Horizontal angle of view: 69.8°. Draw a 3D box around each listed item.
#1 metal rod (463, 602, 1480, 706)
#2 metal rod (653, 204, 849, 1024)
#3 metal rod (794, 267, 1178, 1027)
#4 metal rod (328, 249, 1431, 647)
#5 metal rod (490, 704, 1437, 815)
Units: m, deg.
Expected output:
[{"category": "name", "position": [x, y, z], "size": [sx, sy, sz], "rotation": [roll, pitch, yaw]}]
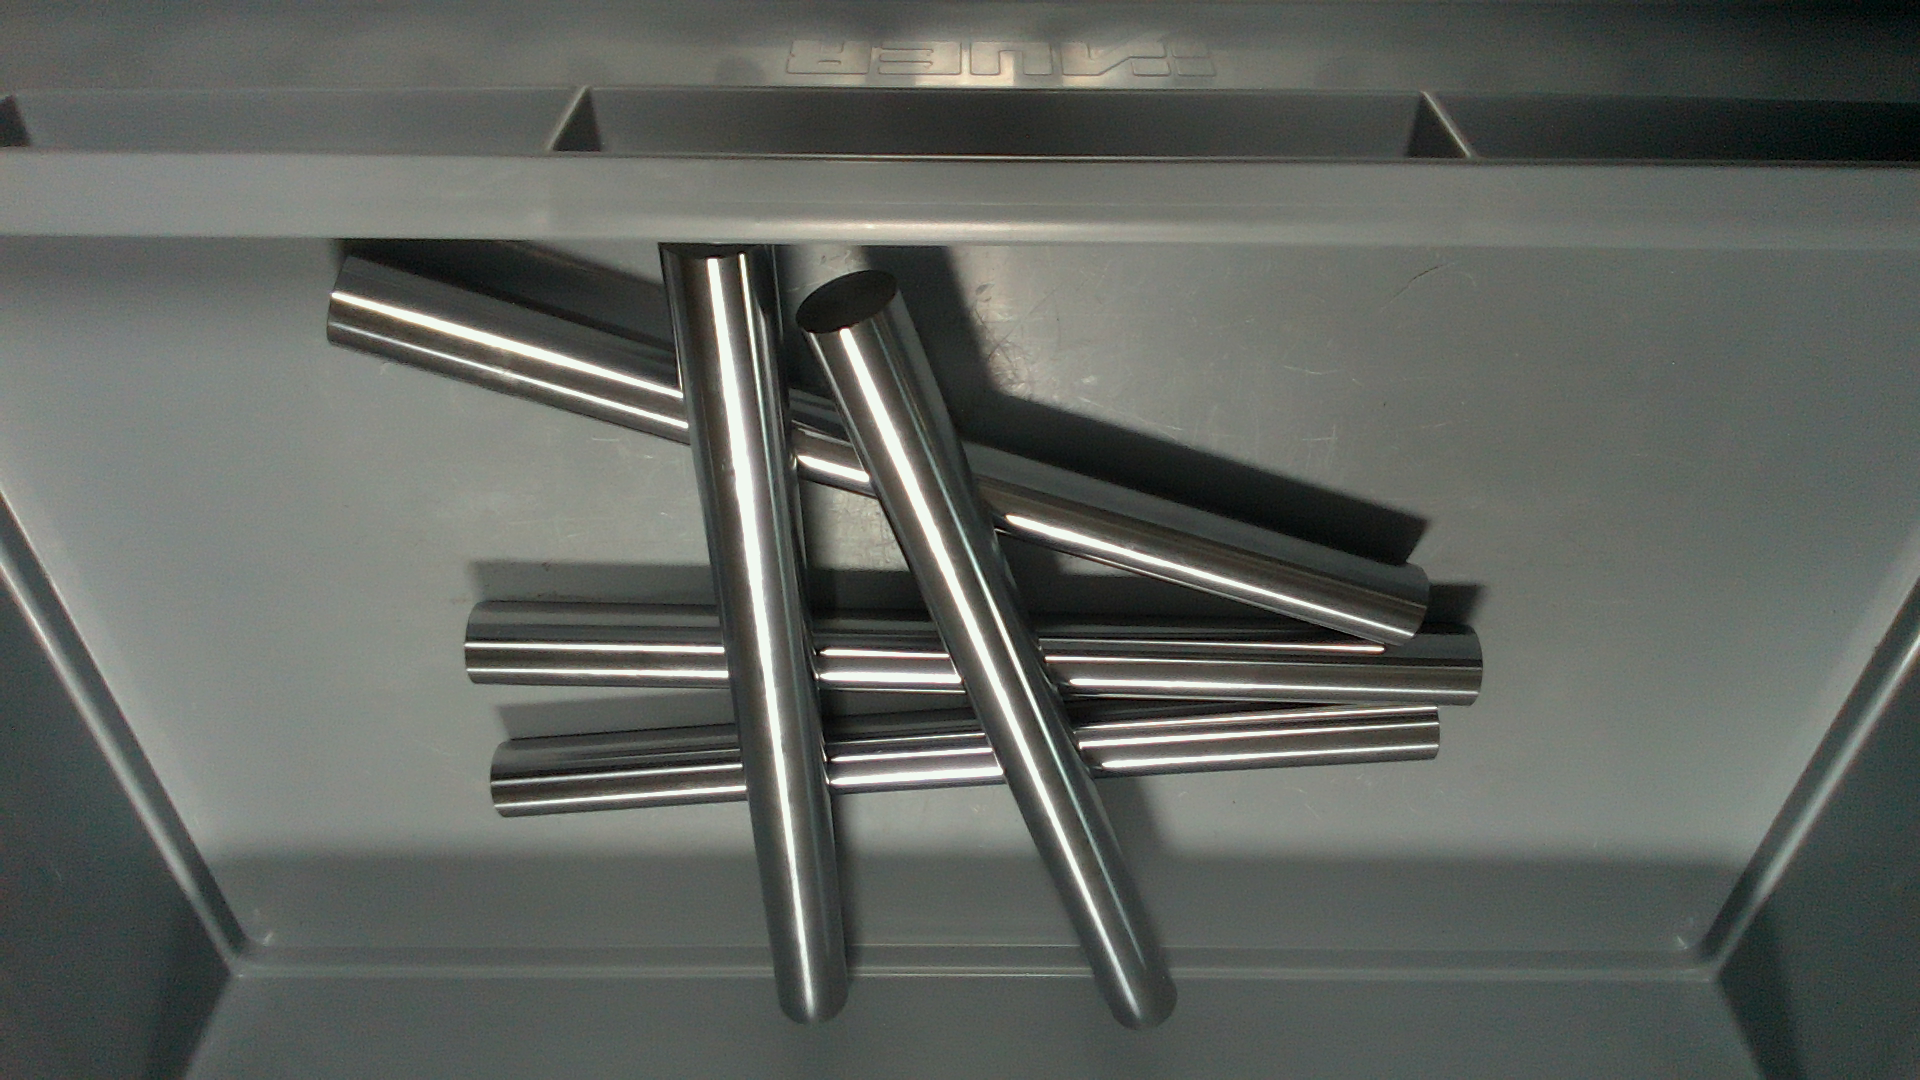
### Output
[{"category": "metal rod", "position": [0.005, 0.035, 0.418], "size": [0.300, 0.025, 0.025], "rotation": [1, 130, -1]}, {"category": "metal rod", "position": [-0.053, 0.047, 0.395], "size": [0.025, 0.025, 0.300], "rotation": [0, 130, 0]}, {"category": "metal rod", "position": [0.020, 0.055, 0.402], "size": [0.025, 0.025, 0.300], "rotation": [-14, 129, 11]}, {"category": "metal rod", "position": [-0.010, -0.020, 0.372], "size": [0.301, 0.025, 0.025], "rotation": [16, 128, -13]}, {"category": "metal rod", "position": [-0.001, 0.068, 0.446], "size": [0.300, 0.025, 0.025], "rotation": [-4, 130, 3]}]
